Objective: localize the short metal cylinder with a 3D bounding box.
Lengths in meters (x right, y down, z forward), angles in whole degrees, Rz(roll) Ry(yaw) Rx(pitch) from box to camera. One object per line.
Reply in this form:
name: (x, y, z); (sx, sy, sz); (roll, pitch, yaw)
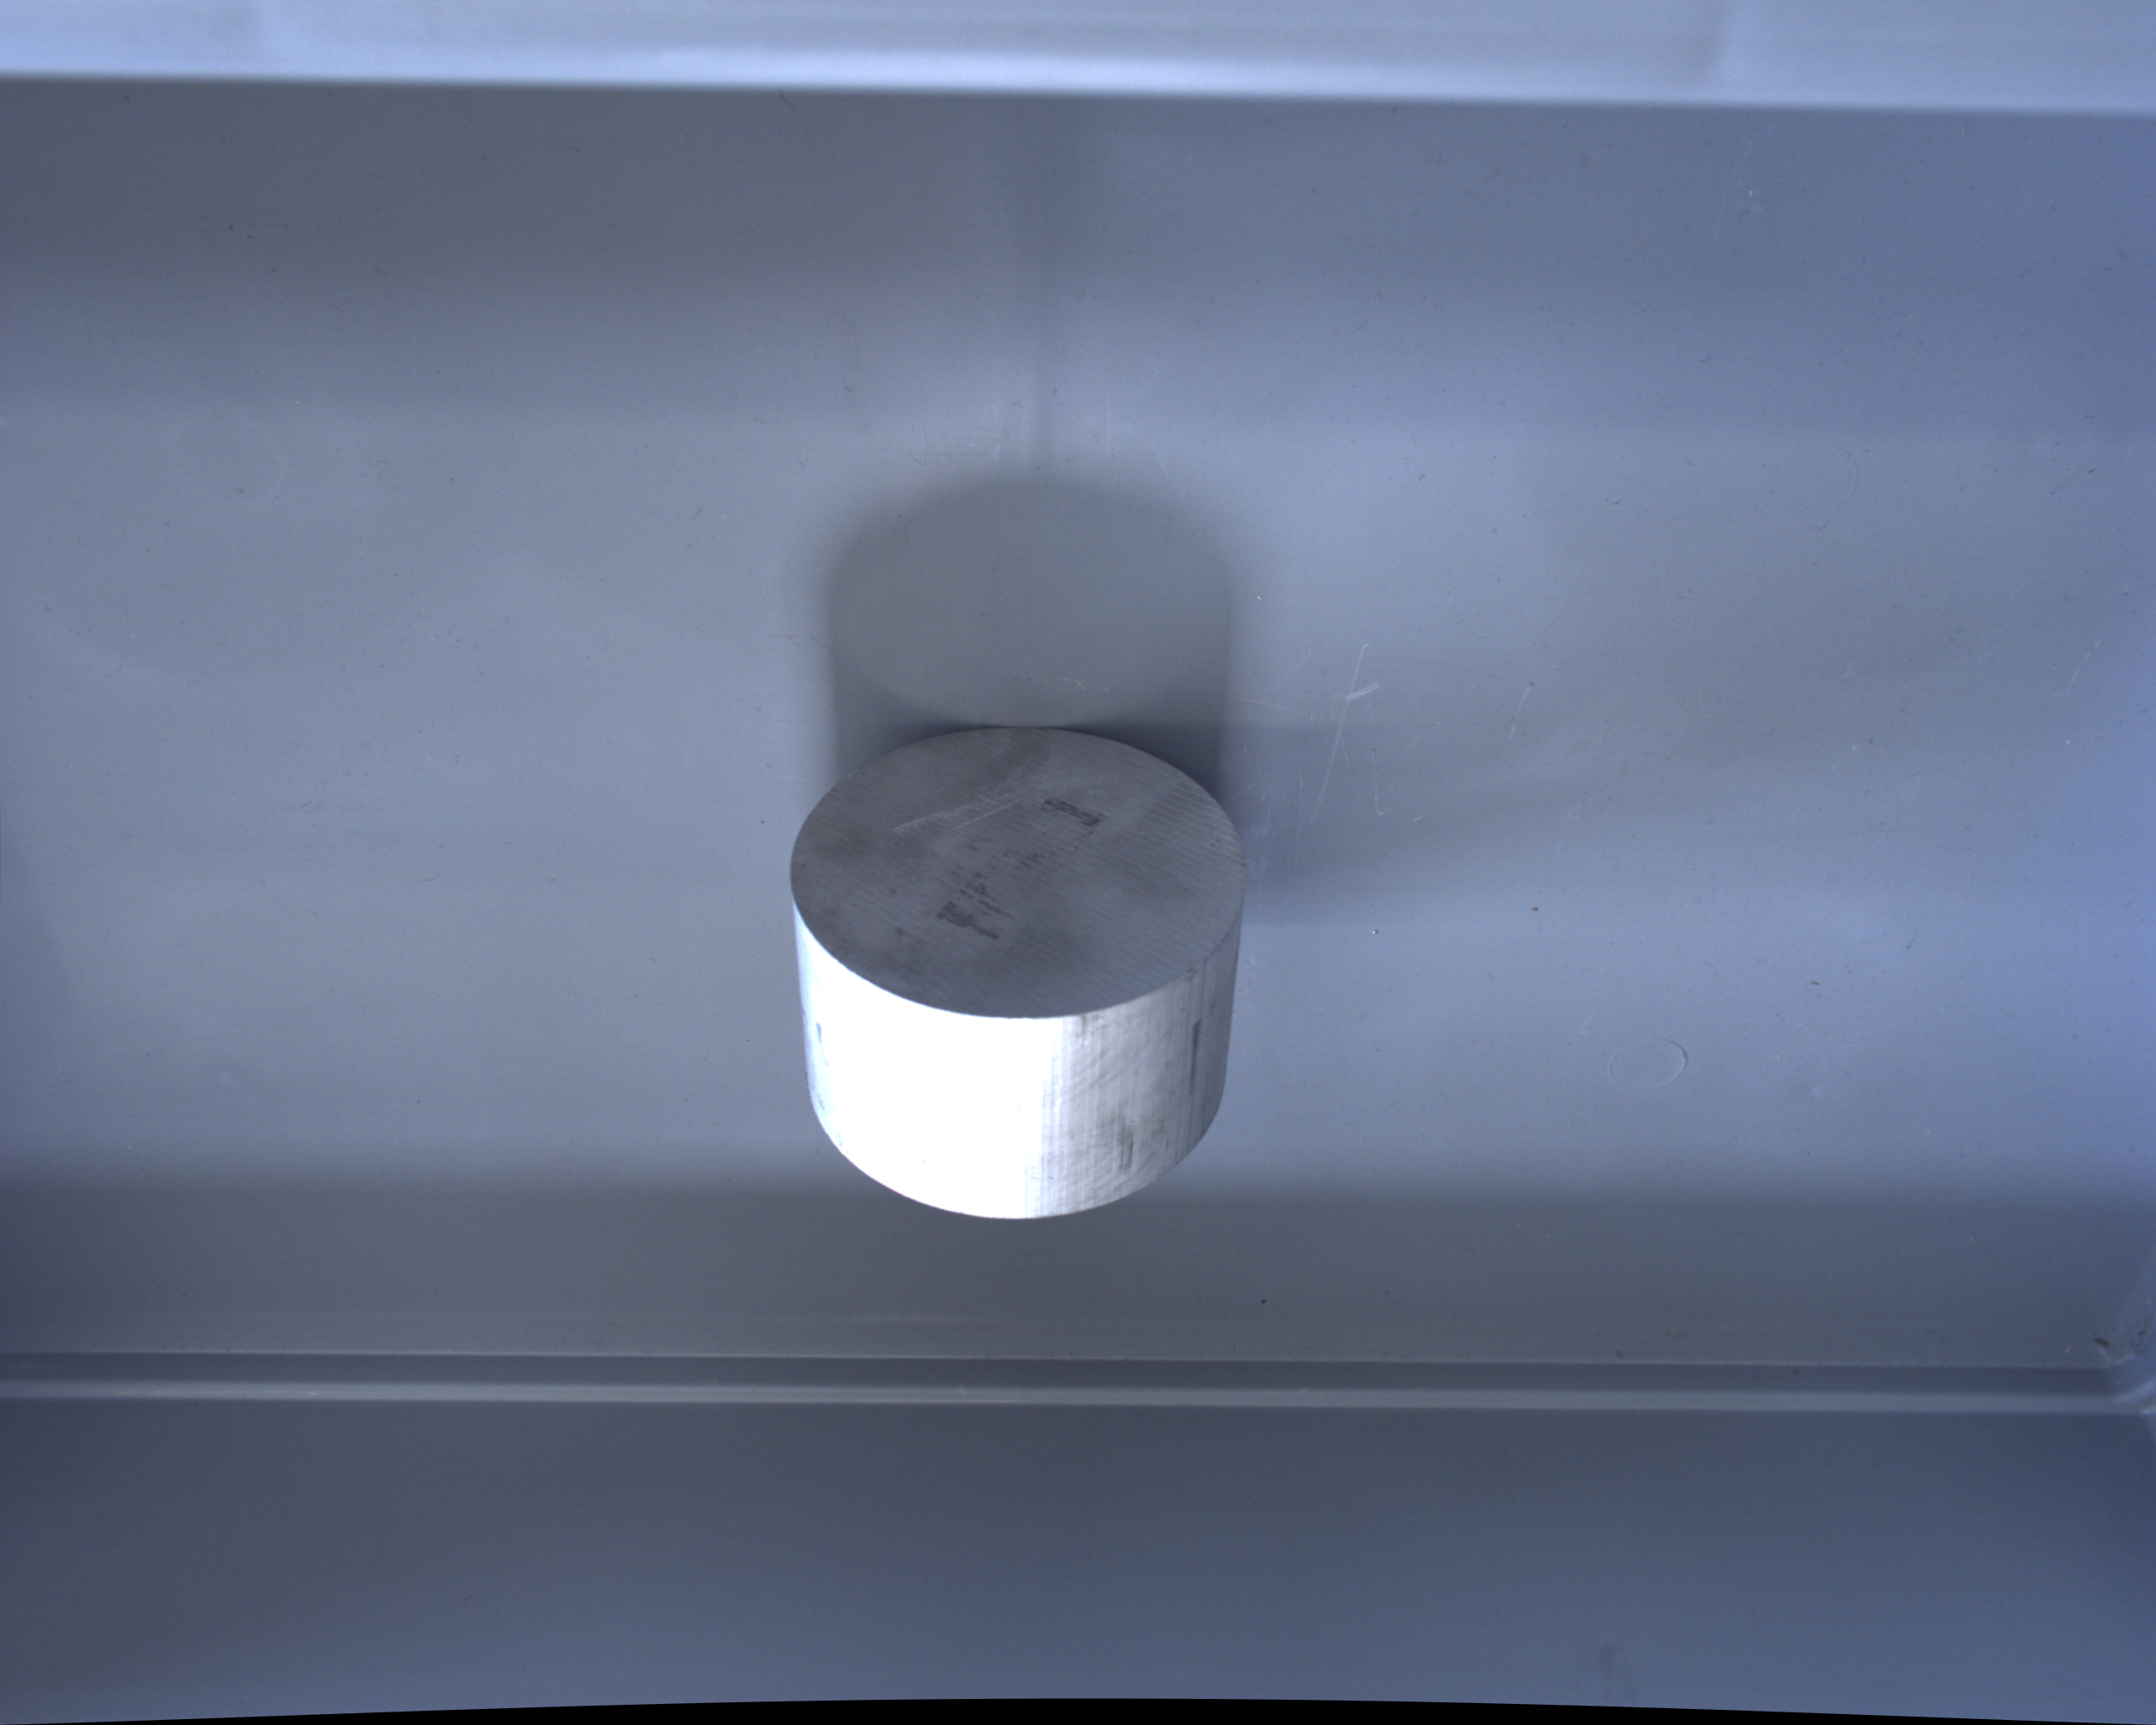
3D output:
short metal cylinder: (-0.011, 0.019, 0.385); (0.080, 0.080, 0.050); (1, 130, -1)
